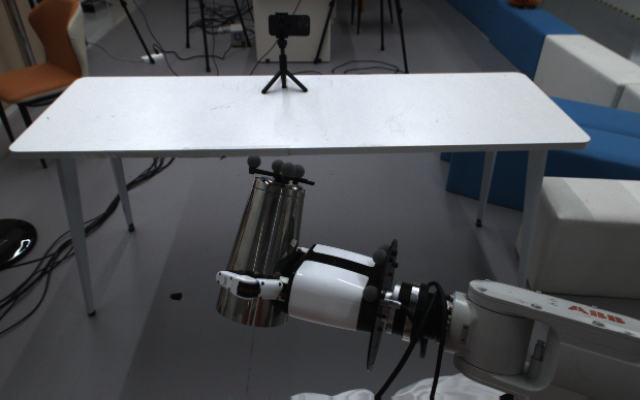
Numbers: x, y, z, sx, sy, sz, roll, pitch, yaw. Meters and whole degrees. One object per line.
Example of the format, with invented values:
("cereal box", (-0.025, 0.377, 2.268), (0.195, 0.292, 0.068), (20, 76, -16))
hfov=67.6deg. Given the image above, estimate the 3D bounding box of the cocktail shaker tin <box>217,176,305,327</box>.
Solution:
("cocktail shaker tin", (-0.068, 0.061, 0.608), (0.093, 0.170, 0.093), (13, 4, -1))
